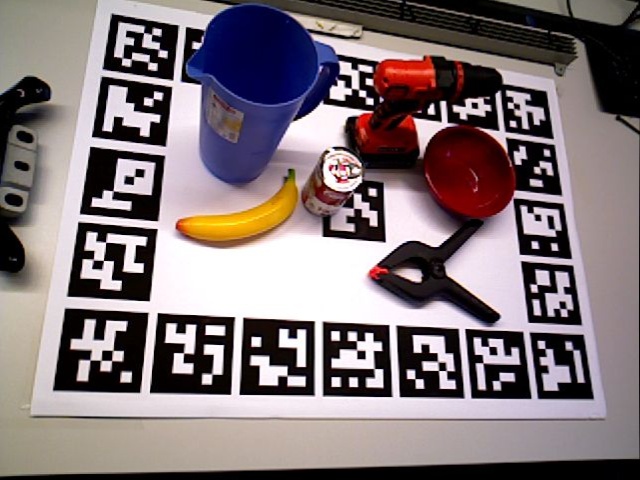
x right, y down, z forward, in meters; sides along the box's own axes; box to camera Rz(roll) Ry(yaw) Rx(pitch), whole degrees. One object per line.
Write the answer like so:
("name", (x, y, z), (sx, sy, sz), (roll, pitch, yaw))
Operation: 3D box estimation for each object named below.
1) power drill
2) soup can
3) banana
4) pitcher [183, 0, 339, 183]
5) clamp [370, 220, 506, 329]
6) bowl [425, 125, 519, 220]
("power drill", (0.144, -0.190, 0.758), (0.182, 0.190, 0.057), (0, 72, -16))
("soup can", (0.016, -0.086, 0.761), (0.067, 0.104, 0.067), (6, 62, -13))
("banana", (-0.111, -0.036, 0.748), (0.194, 0.039, 0.074), (-22, 71, -22))
("pitcher", (-0.082, -0.176, 0.685), (0.186, 0.247, 0.133), (-20, 75, -21))
("clamp", (0.172, 0.047, 0.788), (0.200, 0.037, 0.165), (2, 77, -14))
("bowl", (0.227, -0.100, 0.845), (0.160, 0.056, 0.160), (4, 74, -13))
